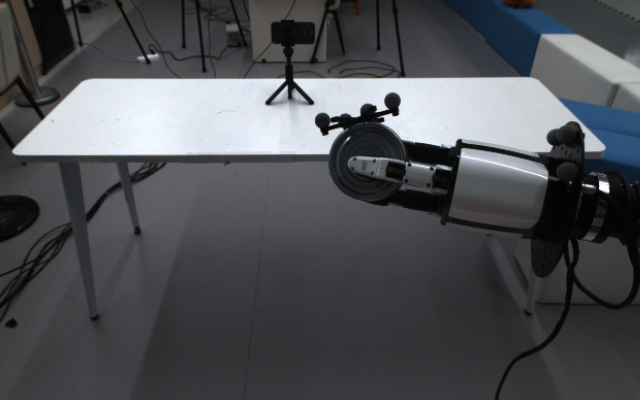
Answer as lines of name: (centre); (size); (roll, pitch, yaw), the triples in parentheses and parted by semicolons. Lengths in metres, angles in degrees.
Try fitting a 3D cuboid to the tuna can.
tuna can: (0.056, -0.043, 0.529); (0.085, 0.085, 0.034); (12, 3, 14)
